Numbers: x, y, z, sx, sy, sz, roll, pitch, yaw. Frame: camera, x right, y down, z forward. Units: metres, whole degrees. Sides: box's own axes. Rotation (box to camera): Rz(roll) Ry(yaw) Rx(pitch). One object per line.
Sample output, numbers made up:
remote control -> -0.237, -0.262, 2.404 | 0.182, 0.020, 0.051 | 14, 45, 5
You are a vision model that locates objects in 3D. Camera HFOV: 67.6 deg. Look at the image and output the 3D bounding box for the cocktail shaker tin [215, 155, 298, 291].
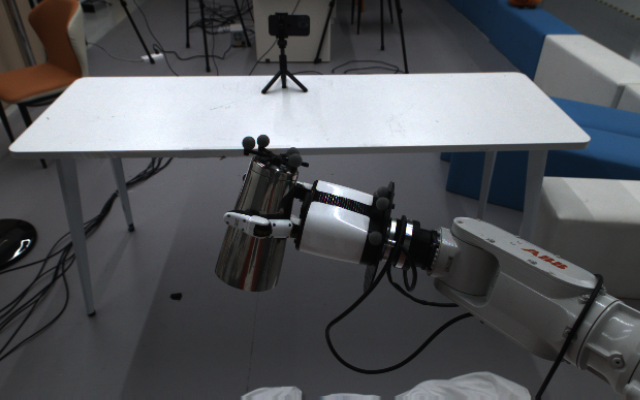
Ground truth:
cocktail shaker tin -> -0.083, 0.029, 0.668 | 0.093, 0.170, 0.093 | 15, 17, -5
